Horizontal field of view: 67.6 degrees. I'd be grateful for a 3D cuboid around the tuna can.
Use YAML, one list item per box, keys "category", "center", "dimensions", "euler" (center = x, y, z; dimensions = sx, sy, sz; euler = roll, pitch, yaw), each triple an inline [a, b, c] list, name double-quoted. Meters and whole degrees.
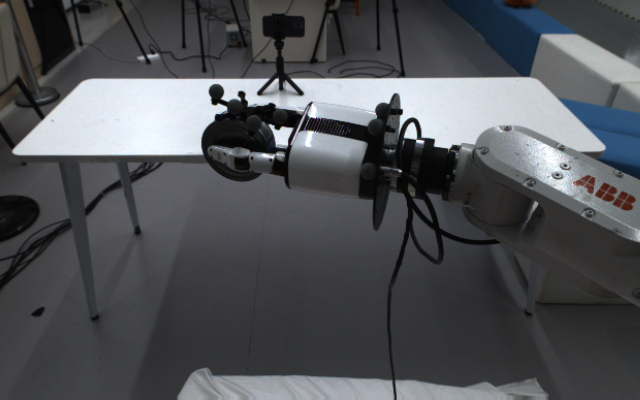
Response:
- category: "tuna can"
  center: [-0.098, -0.067, 0.597]
  dimensions: [0.085, 0.085, 0.034]
  euler: [9, 35, 10]
